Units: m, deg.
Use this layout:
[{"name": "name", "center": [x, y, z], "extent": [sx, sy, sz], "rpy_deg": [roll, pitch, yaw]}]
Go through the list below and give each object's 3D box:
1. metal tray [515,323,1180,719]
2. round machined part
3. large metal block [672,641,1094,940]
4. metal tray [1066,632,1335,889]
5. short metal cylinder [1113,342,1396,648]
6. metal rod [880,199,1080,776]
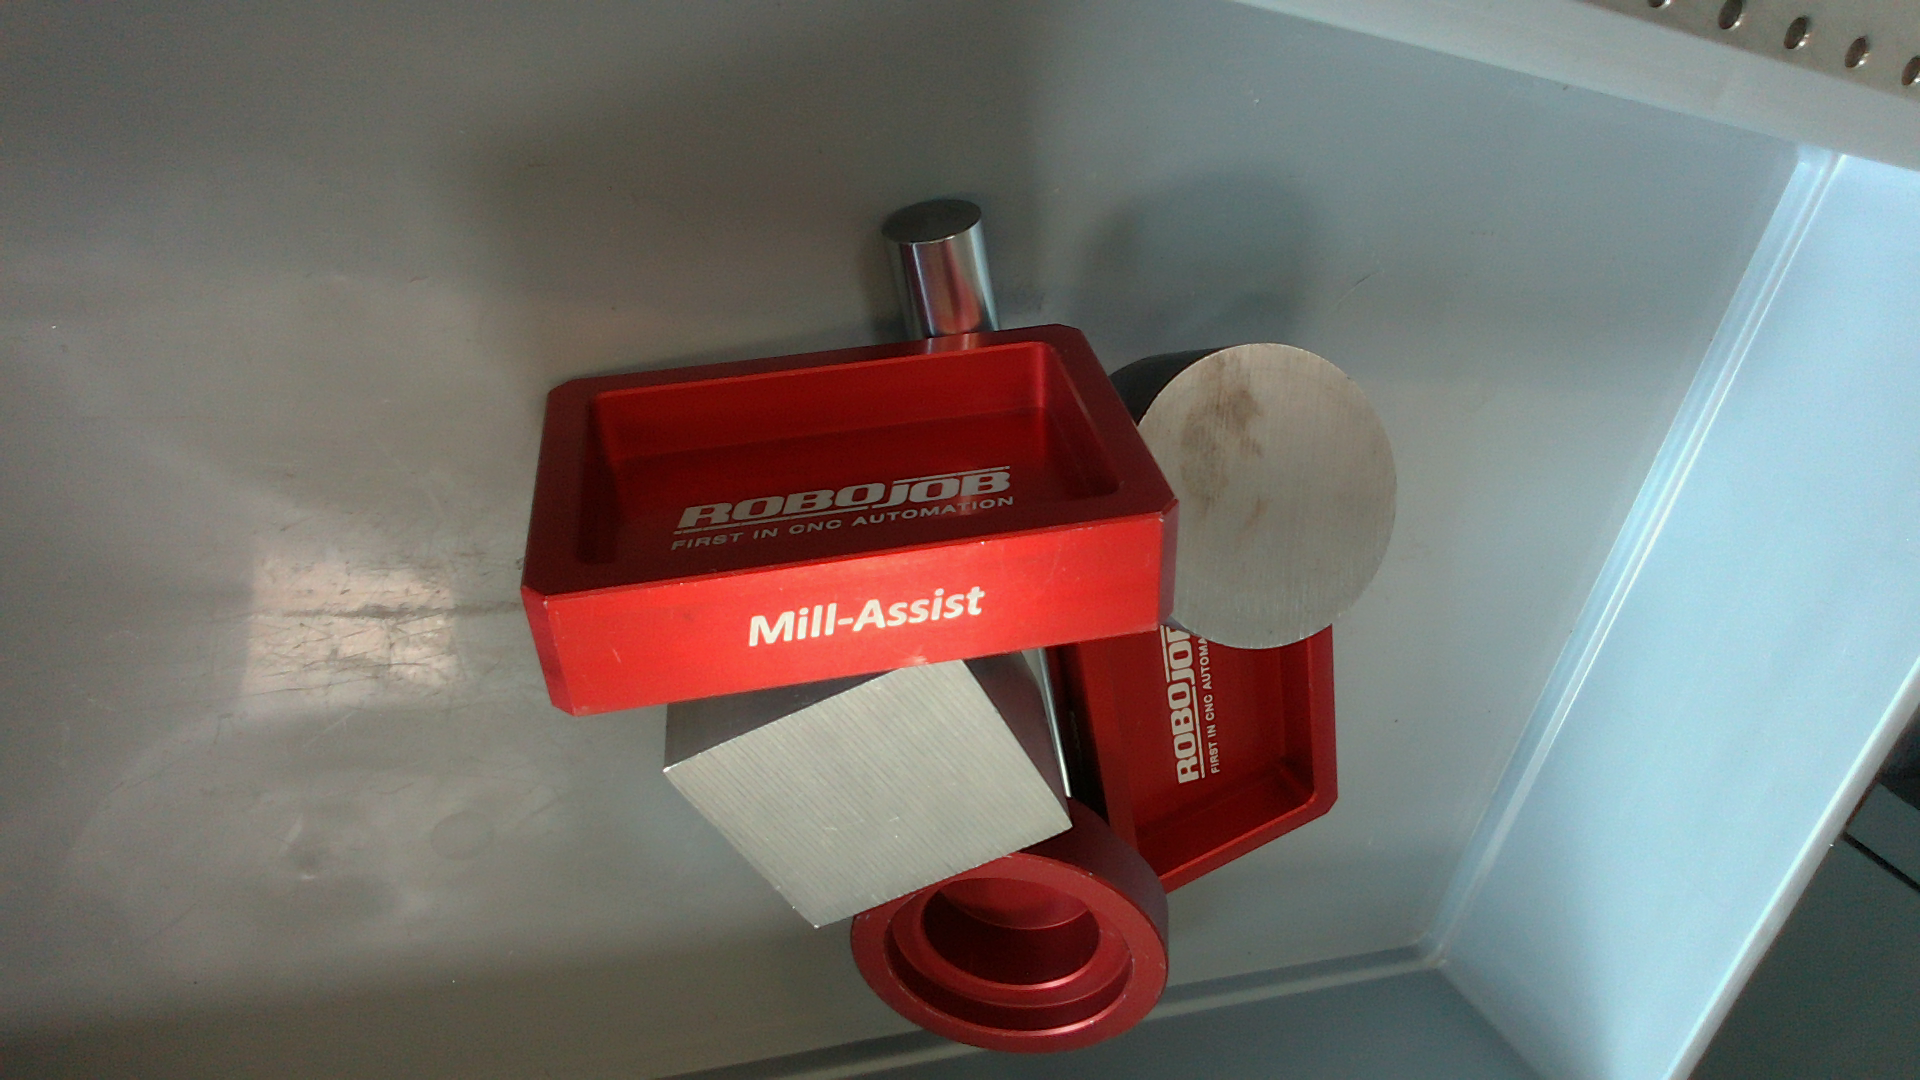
[{"name": "metal tray", "center": [-0.026, -0.009, 0.307], "extent": [0.130, 0.090, 0.030], "rpy_deg": [-8, 125, -7]}, {"name": "round machined part", "center": [0.017, 0.116, 0.438], "extent": [0.098, 0.042, 0.098], "rpy_deg": [4, 128, 5]}, {"name": "large metal block", "center": [-0.020, 0.053, 0.370], "extent": [0.080, 0.050, 0.080], "rpy_deg": [-25, 130, 10]}, {"name": "metal tray", "center": [0.079, 0.054, 0.460], "extent": [0.090, 0.030, 0.130], "rpy_deg": [-23, 127, -15]}, {"name": "short metal cylinder", "center": [0.072, -0.013, 0.384], "extent": [0.080, 0.050, 0.080], "rpy_deg": [-1, 95, -17]}, {"name": "metal rod", "center": [0.019, 0.041, 0.423], "extent": [0.025, 0.025, 0.300], "rpy_deg": [-23, 127, -14]}]
